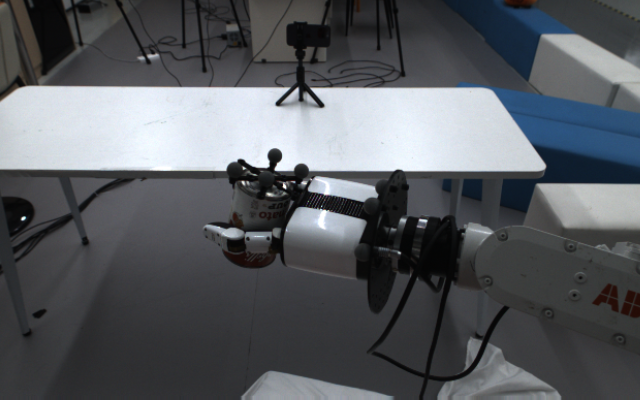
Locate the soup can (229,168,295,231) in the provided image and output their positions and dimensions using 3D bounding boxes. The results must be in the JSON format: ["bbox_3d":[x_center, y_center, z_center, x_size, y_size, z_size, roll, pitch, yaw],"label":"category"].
[{"bbox_3d":[-0.073,0.022,0.573,0.067,0.101,0.067,13,30,-8],"label":"soup can"}]
